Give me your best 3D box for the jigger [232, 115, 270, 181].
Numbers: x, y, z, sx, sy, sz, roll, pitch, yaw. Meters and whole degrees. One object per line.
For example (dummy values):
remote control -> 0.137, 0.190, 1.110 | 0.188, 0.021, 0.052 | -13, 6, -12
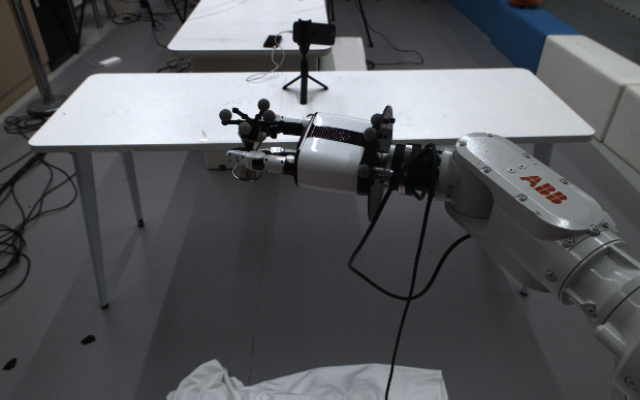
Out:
jigger -> -0.102, -0.066, 0.699 | 0.043, 0.071, 0.043 | 10, 36, -7
